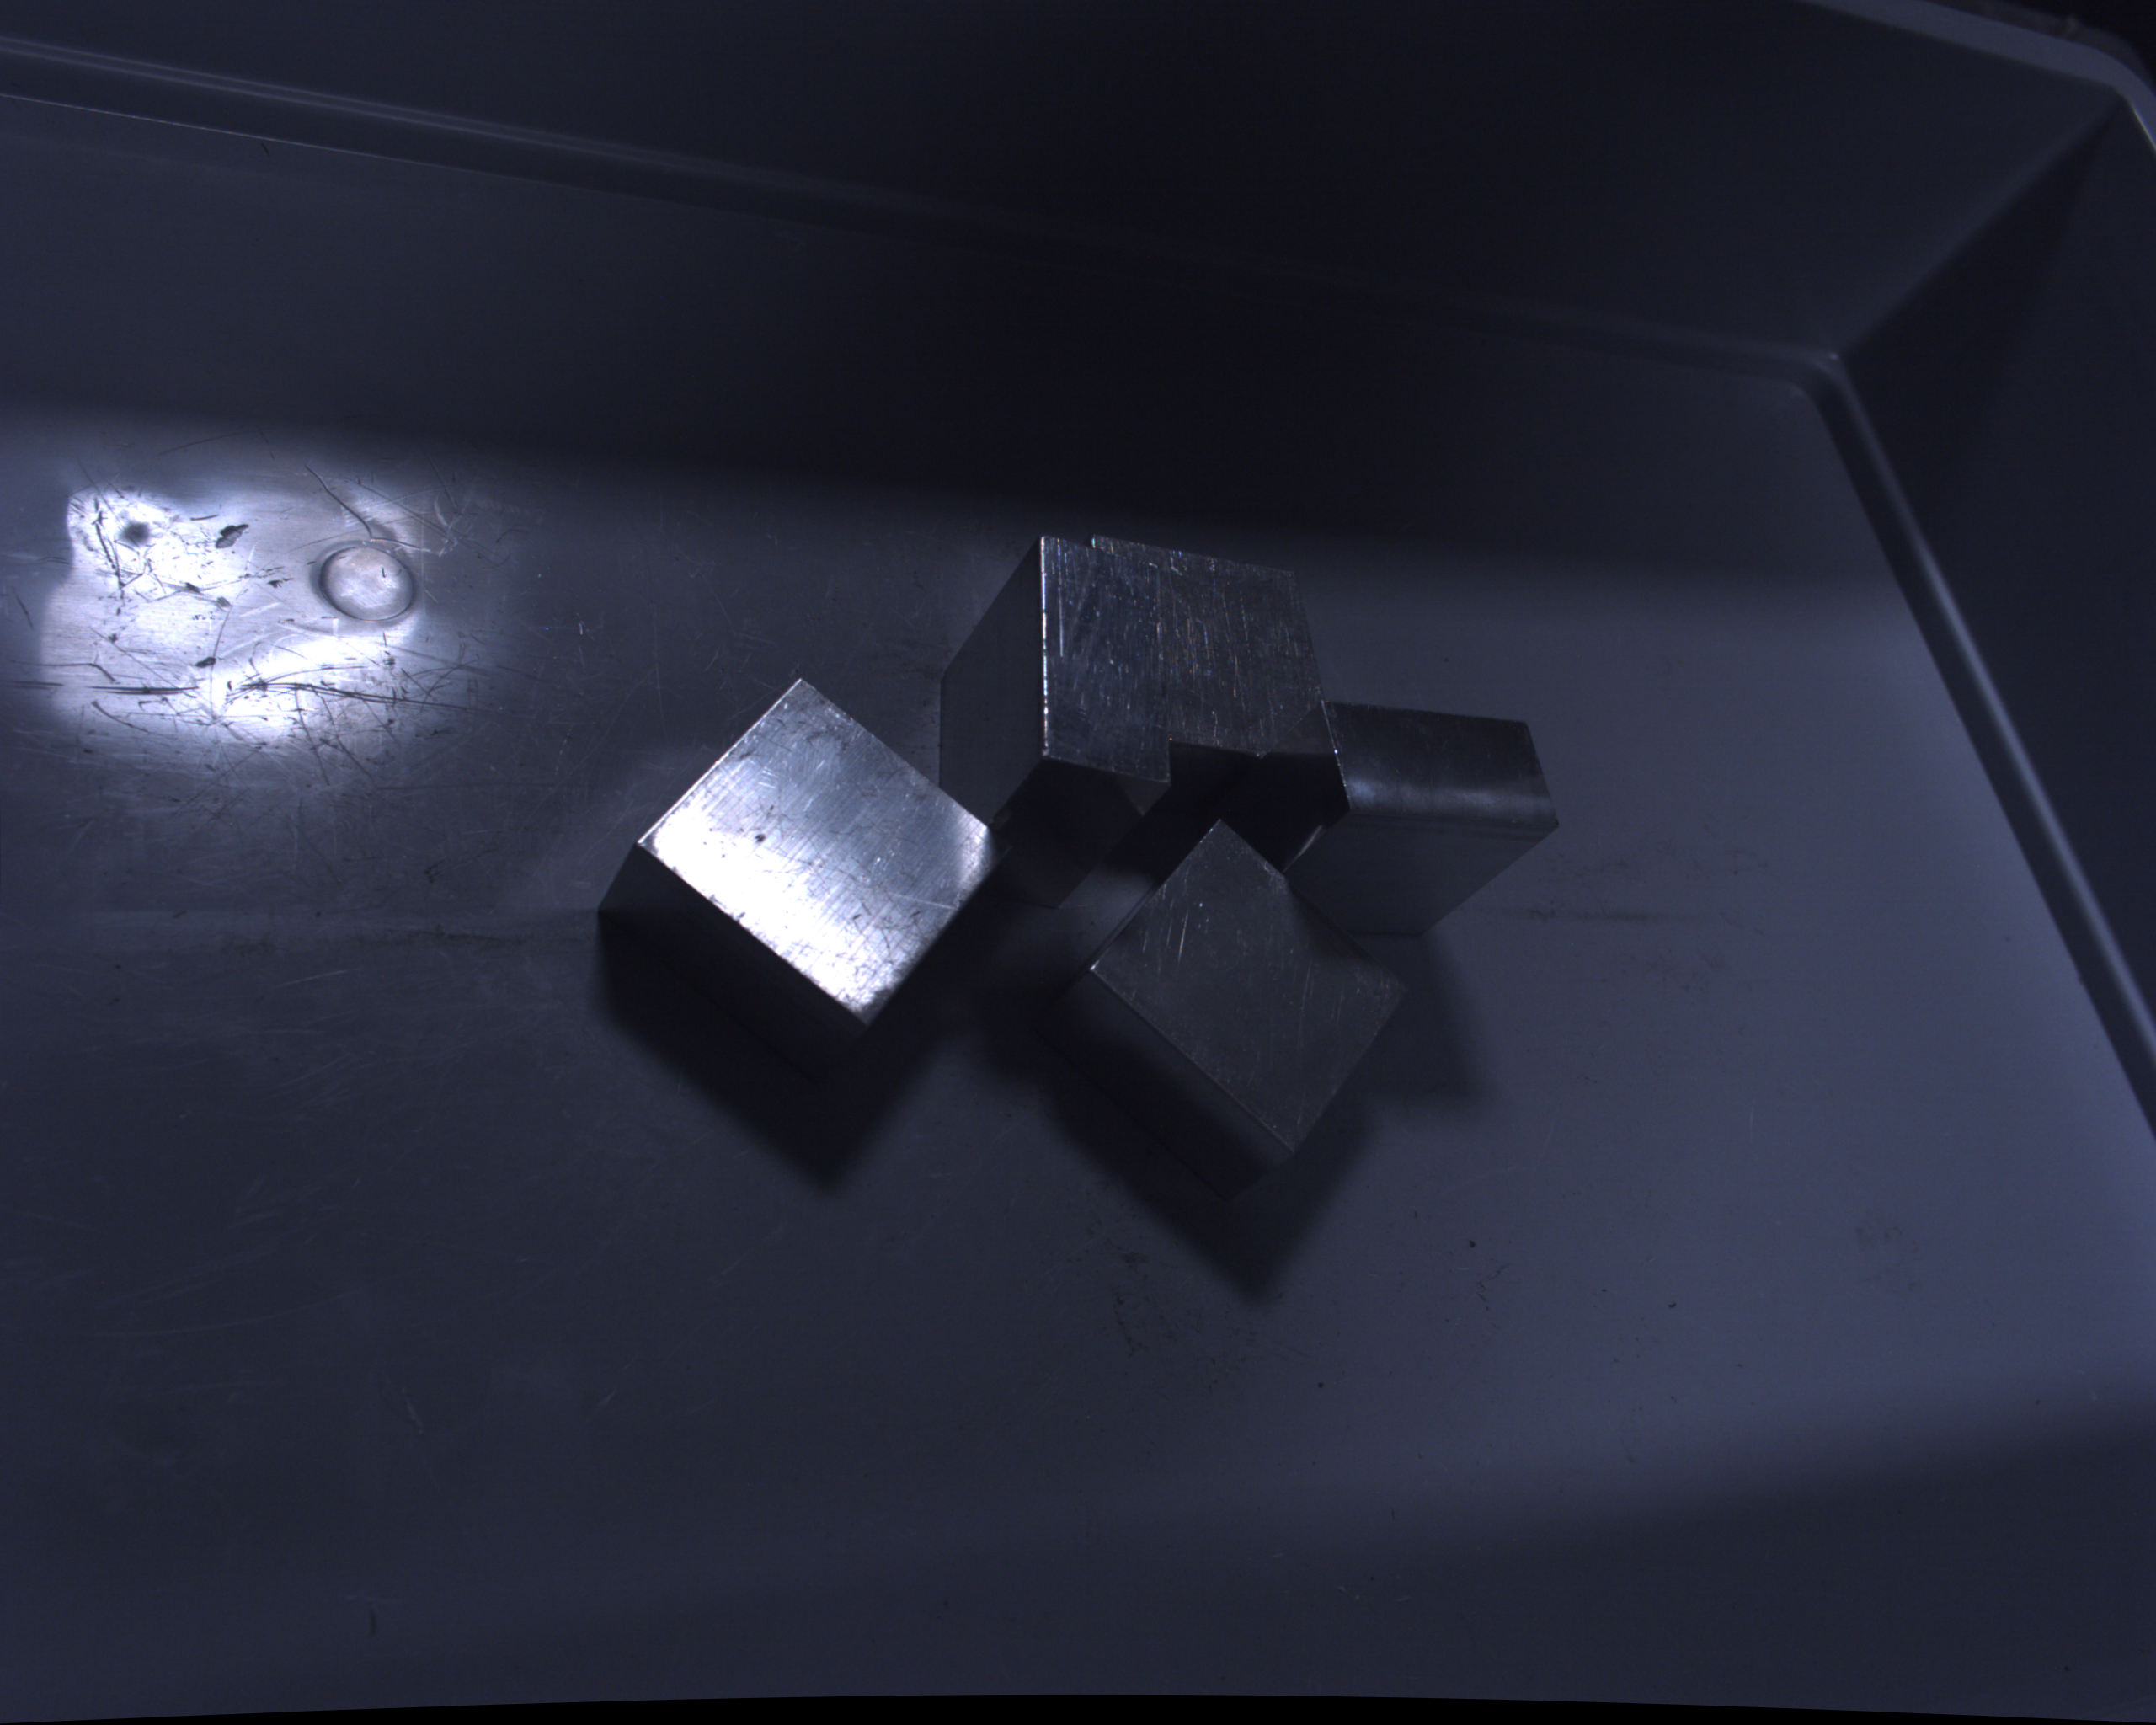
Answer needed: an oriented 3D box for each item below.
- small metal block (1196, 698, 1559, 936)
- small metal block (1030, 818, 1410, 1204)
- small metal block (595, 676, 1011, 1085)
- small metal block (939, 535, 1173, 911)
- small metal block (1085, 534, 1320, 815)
[{"bbox_3d":[0.060,-0.008,0.426,0.050,0.050,0.025,3,61,-27],"label":"small metal block"},{"bbox_3d":[0.028,0.028,0.402,0.050,0.025,0.050,42,51,0],"label":"small metal block"},{"bbox_3d":[-0.049,0.003,0.376,0.050,0.025,0.050,39,51,-3],"label":"small metal block"},{"bbox_3d":[-0.006,-0.026,0.401,0.025,0.050,0.050,12,57,-22],"label":"small metal block"},{"bbox_3d":[0.023,-0.038,0.440,0.050,0.025,0.050,6,59,-25],"label":"small metal block"}]
